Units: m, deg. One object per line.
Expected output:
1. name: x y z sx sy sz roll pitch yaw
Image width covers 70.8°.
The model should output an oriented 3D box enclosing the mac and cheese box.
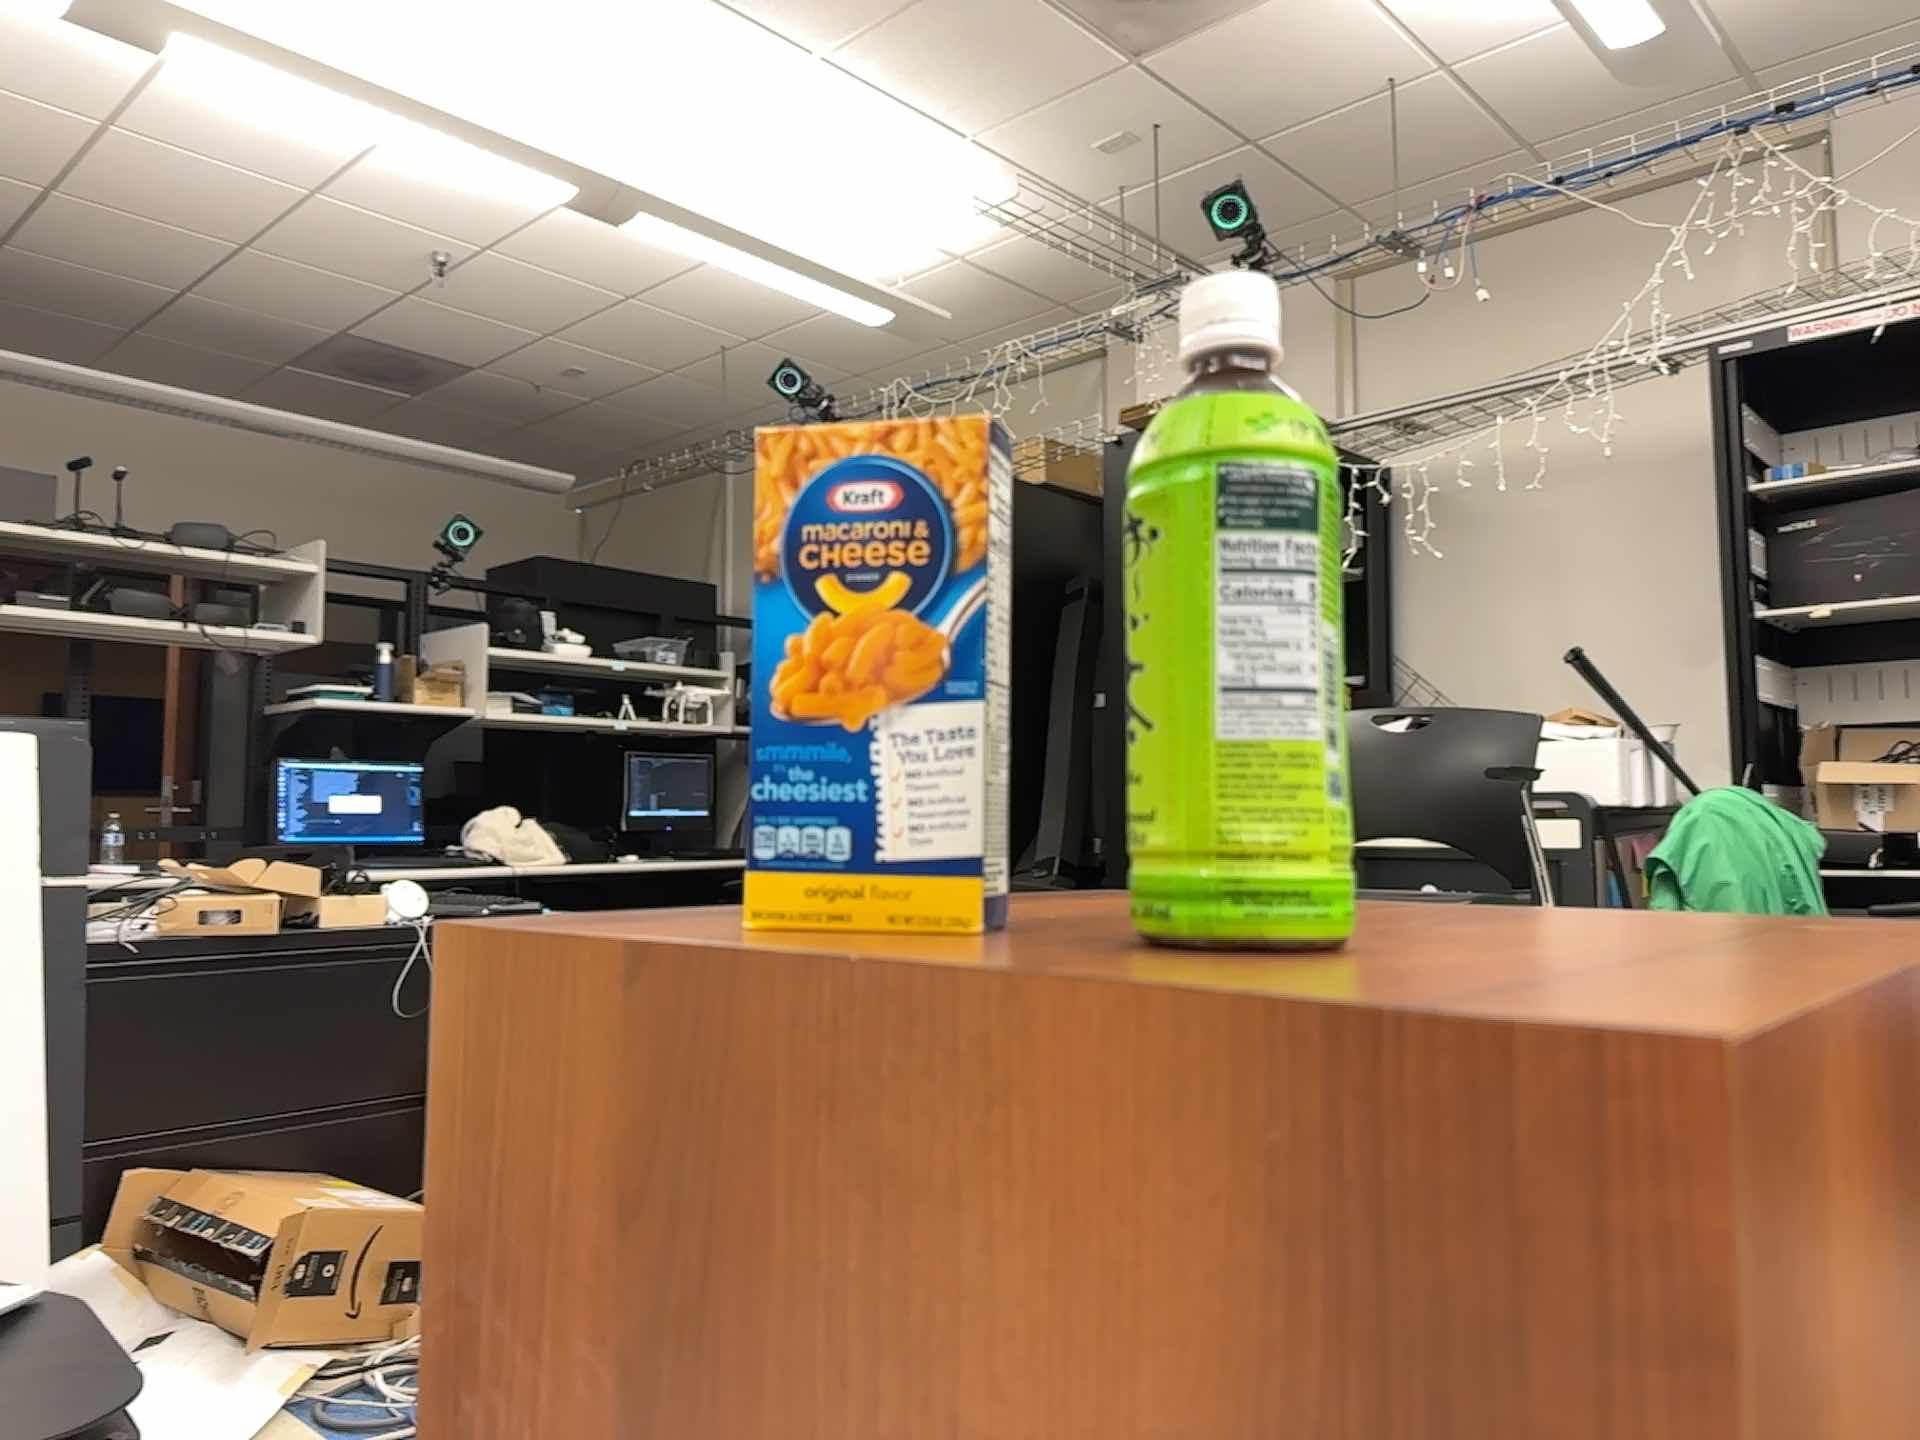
1. mac and cheese box: -0.027 -0.015 0.497 0.088 0.181 0.035 -2 -8 18

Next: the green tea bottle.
1. green tea bottle: 0.087 -0.040 0.430 0.073 0.212 0.073 3 -7 0
